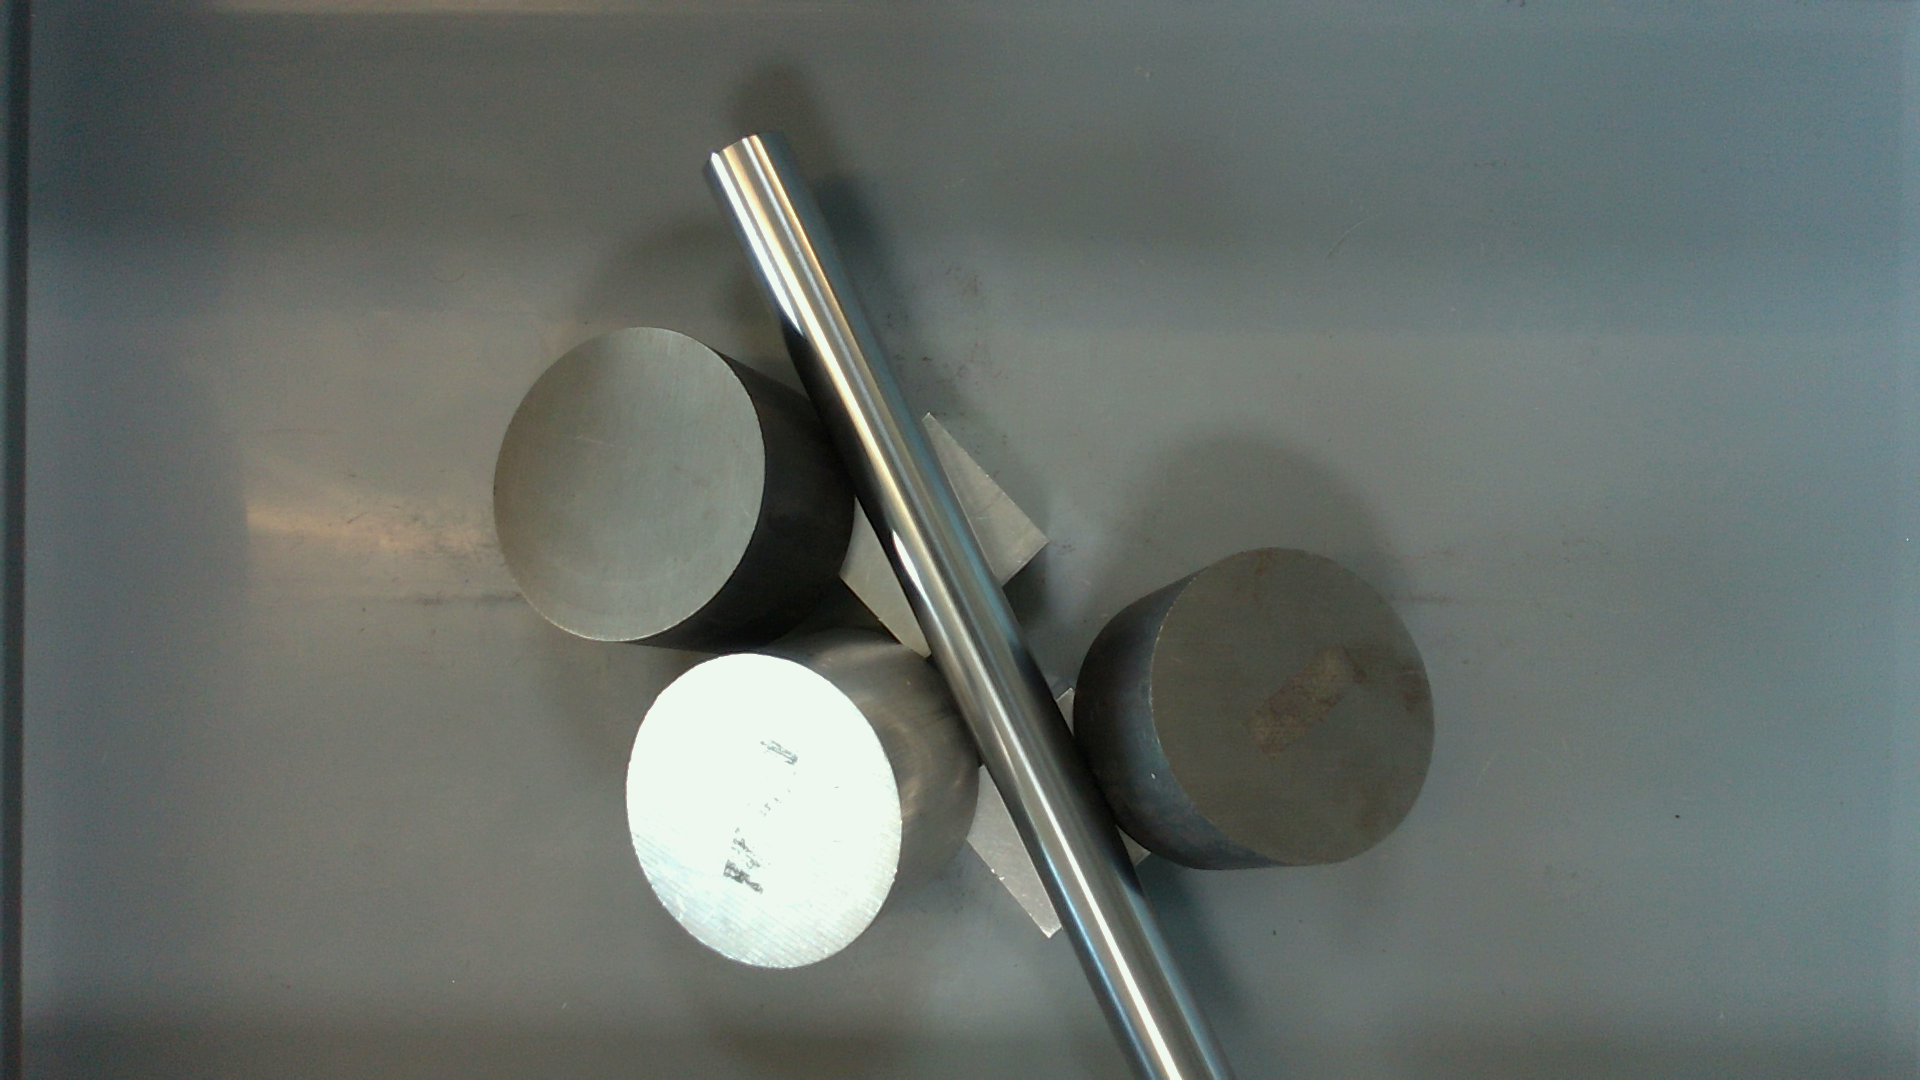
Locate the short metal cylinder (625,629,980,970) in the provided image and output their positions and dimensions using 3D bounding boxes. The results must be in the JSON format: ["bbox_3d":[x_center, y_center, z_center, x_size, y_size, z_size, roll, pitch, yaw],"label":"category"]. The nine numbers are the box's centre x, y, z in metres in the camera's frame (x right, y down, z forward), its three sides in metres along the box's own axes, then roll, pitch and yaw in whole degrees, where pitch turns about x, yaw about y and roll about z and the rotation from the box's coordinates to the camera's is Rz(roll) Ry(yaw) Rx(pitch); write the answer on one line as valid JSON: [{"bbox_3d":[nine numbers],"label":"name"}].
[{"bbox_3d":[-0.041,0.067,0.368,0.080,0.050,0.080,2,95,23],"label":"short metal cylinder"}]

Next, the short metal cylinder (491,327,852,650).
[{"bbox_3d":[-0.076,-0.011,0.367,0.080,0.050,0.080,-3,81,21],"label":"short metal cylinder"}]

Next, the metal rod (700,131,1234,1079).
[{"bbox_3d":[0.006,0.032,0.369,0.025,0.025,0.300,-25,90,0],"label":"metal rod"}]

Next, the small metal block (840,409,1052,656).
[{"bbox_3d":[-0.010,-0.001,0.394,0.050,0.025,0.050,-43,90,0],"label":"small metal block"}]

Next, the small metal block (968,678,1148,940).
[{"bbox_3d":[0.028,0.076,0.395,0.050,0.025,0.050,-40,90,0],"label":"small metal block"}]

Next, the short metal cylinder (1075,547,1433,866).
[{"bbox_3d":[0.077,0.047,0.369,0.080,0.050,0.080,5,74,-17],"label":"short metal cylinder"}]
